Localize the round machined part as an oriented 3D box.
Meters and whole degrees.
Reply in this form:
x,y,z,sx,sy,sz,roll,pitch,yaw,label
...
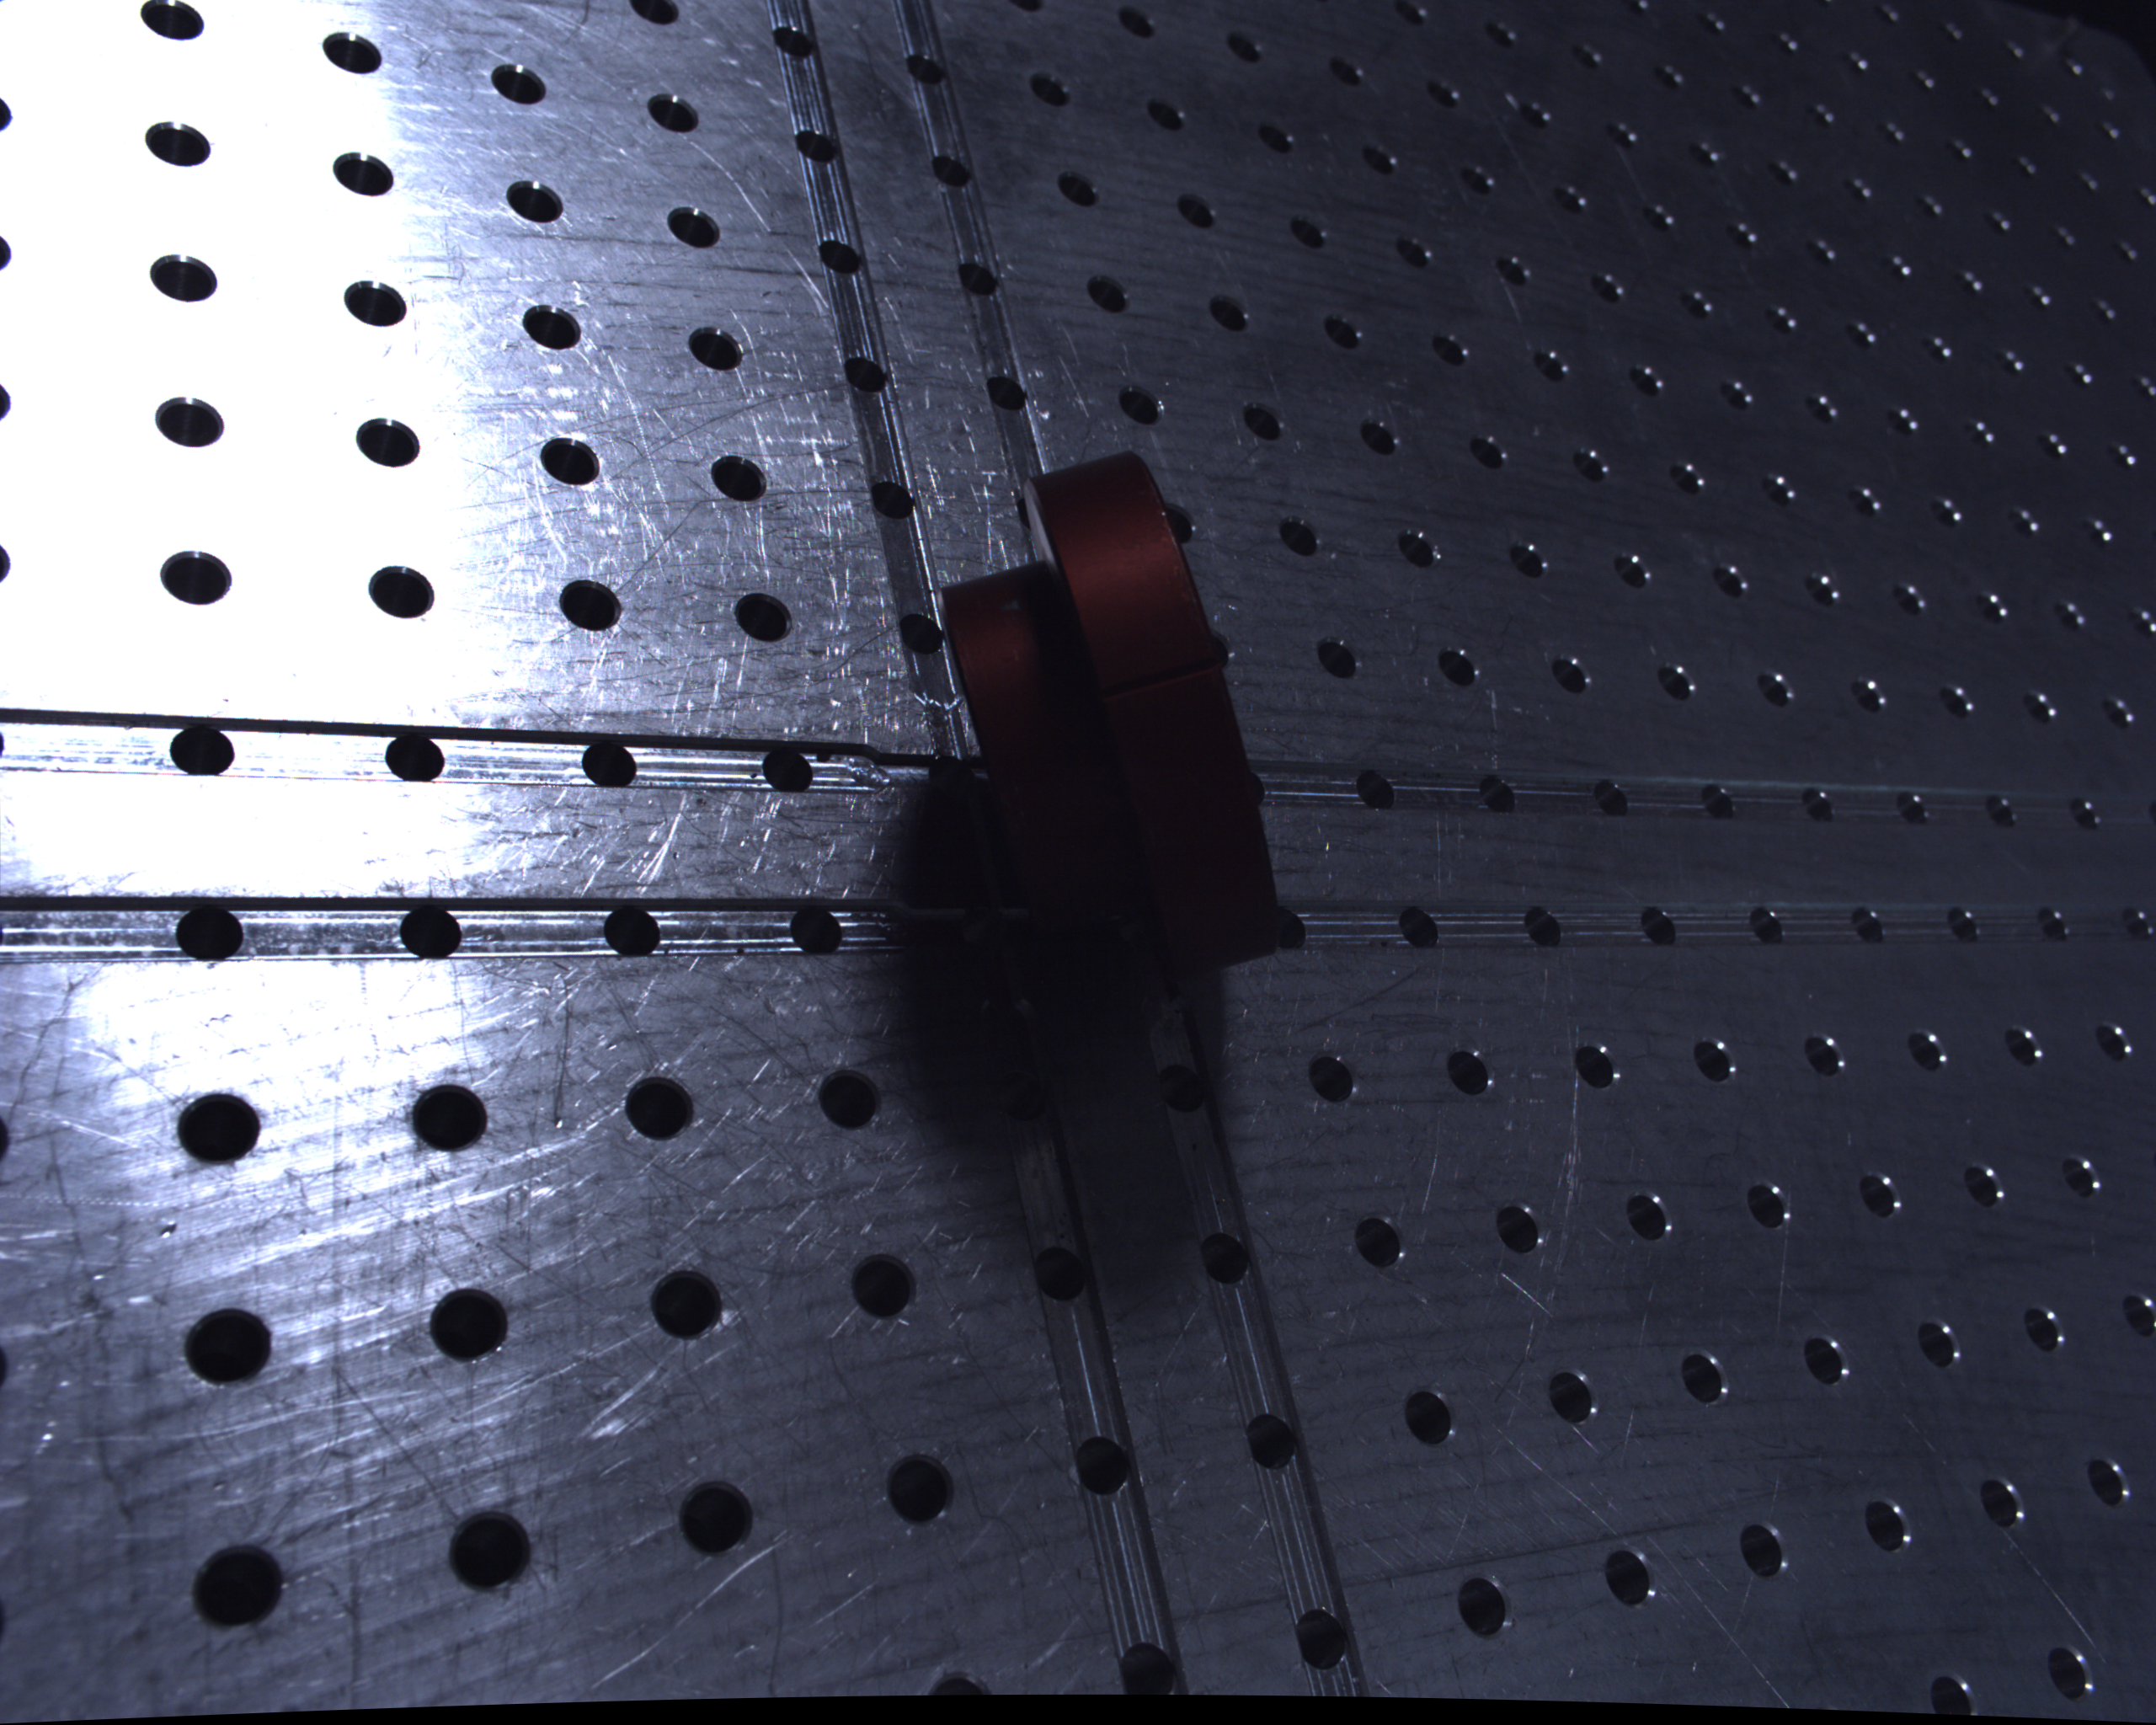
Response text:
x,y,z,sx,sy,sz,roll,pitch,yaw,label
0.003,-0.024,0.391,0.042,0.098,0.098,-16,67,-1,round machined part
